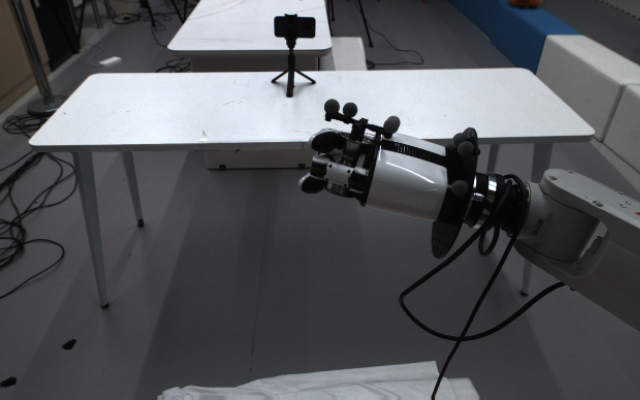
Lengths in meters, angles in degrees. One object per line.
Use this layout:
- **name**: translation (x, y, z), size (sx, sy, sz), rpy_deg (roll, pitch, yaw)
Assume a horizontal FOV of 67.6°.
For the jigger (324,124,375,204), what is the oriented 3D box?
- **jigger**: translation (0.036, -0.042, 0.582), size (0.043, 0.071, 0.043), rpy_deg (15, 17, -5)
